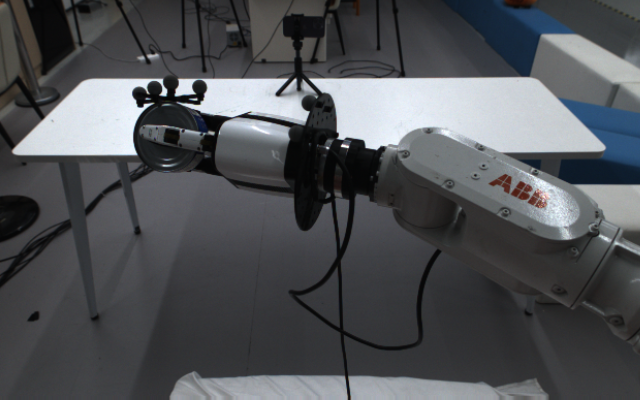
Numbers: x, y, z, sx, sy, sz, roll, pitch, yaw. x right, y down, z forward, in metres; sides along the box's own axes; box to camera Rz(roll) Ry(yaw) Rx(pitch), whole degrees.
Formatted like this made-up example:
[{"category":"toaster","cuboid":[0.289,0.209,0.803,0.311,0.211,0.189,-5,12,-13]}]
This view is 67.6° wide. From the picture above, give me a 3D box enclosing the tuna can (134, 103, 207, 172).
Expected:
[{"category":"tuna can","cuboid":[-0.178,-0.074,0.595,0.085,0.085,0.034,10,2,11]}]
